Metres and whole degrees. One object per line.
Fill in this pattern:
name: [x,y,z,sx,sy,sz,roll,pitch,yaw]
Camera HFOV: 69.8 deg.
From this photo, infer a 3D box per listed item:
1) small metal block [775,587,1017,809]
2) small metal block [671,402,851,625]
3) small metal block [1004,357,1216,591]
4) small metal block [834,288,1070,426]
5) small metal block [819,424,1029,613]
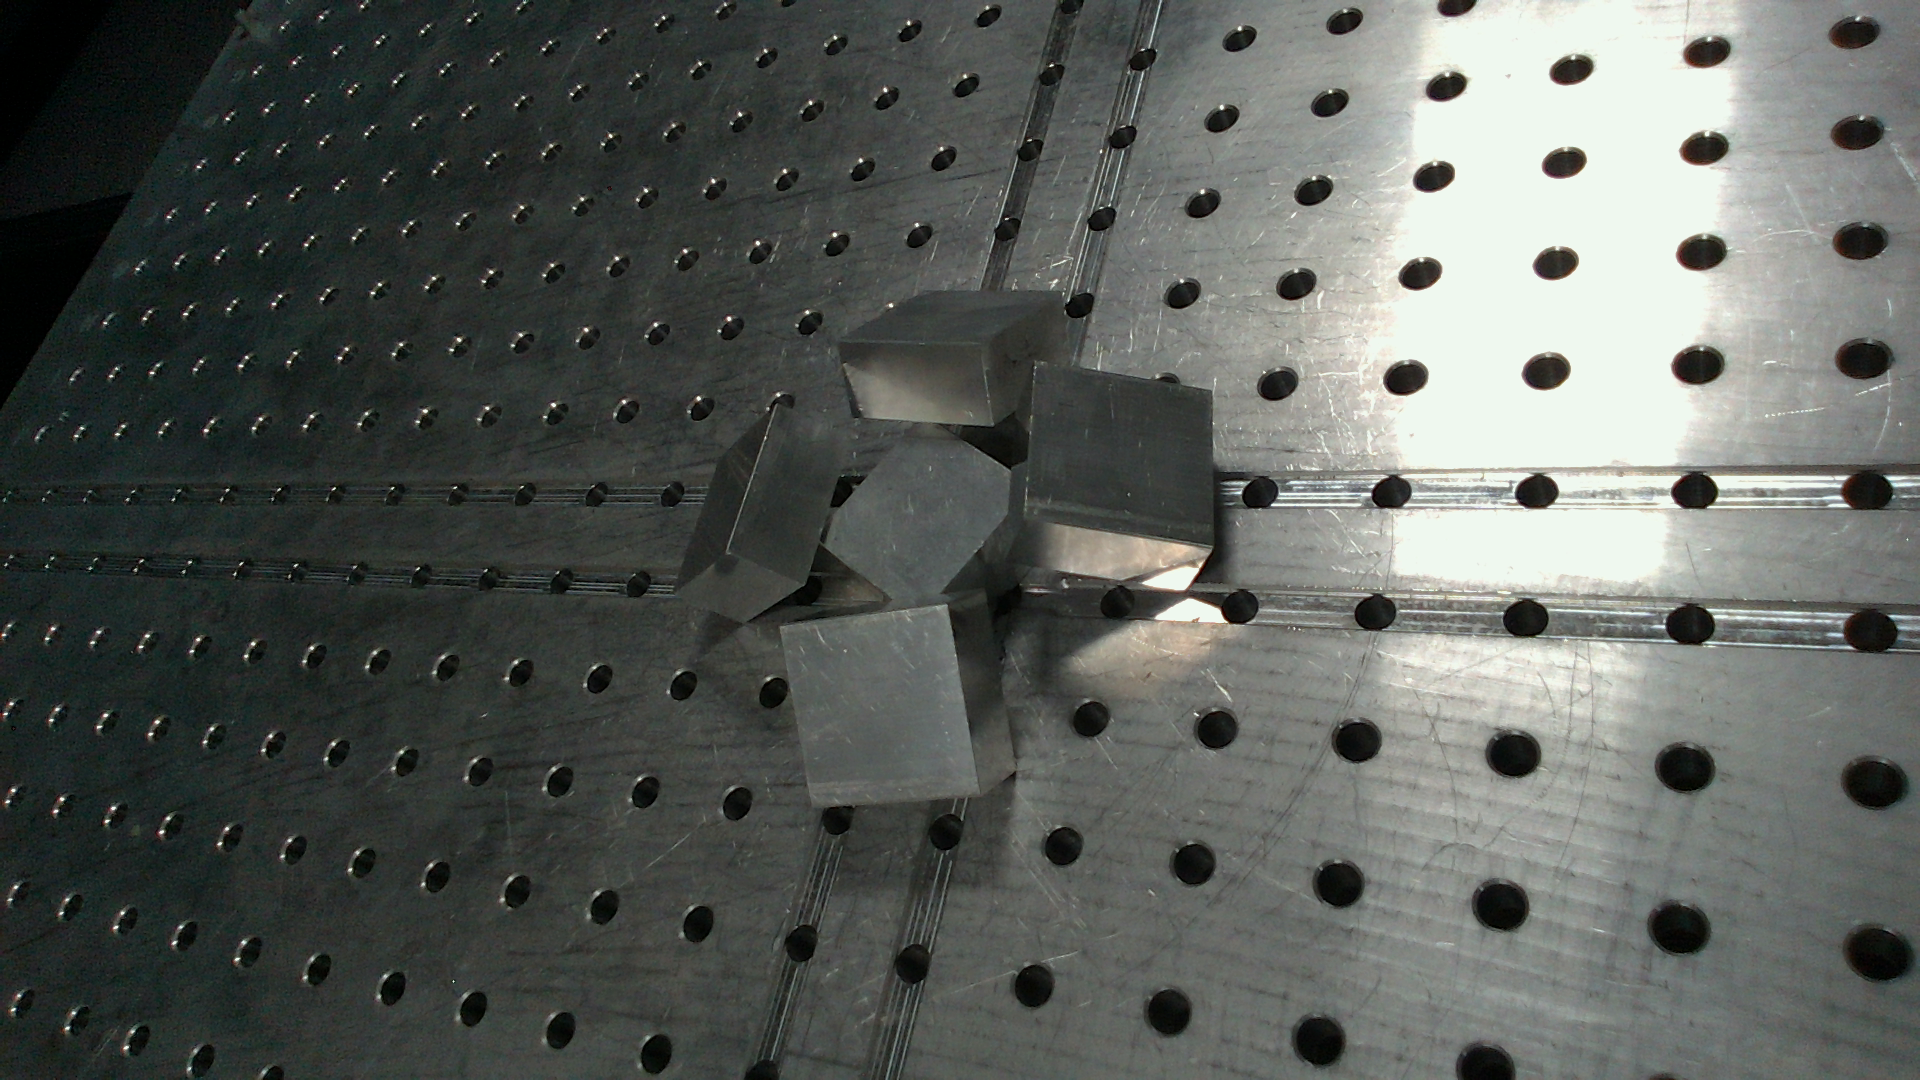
small metal block: [-0.017,0.042,0.364,0.050,0.025,0.050,-9,93,24]
small metal block: [-0.061,-0.007,0.419,0.050,0.025,0.050,-30,41,56]
small metal block: [0.041,-0.018,0.370,0.050,0.025,0.050,9,60,-7]
small metal block: [-0.001,-0.057,0.416,0.050,0.025,0.050,6,29,32]
small metal block: [-0.006,-0.003,0.401,0.050,0.025,0.050,-49,51,-6]
